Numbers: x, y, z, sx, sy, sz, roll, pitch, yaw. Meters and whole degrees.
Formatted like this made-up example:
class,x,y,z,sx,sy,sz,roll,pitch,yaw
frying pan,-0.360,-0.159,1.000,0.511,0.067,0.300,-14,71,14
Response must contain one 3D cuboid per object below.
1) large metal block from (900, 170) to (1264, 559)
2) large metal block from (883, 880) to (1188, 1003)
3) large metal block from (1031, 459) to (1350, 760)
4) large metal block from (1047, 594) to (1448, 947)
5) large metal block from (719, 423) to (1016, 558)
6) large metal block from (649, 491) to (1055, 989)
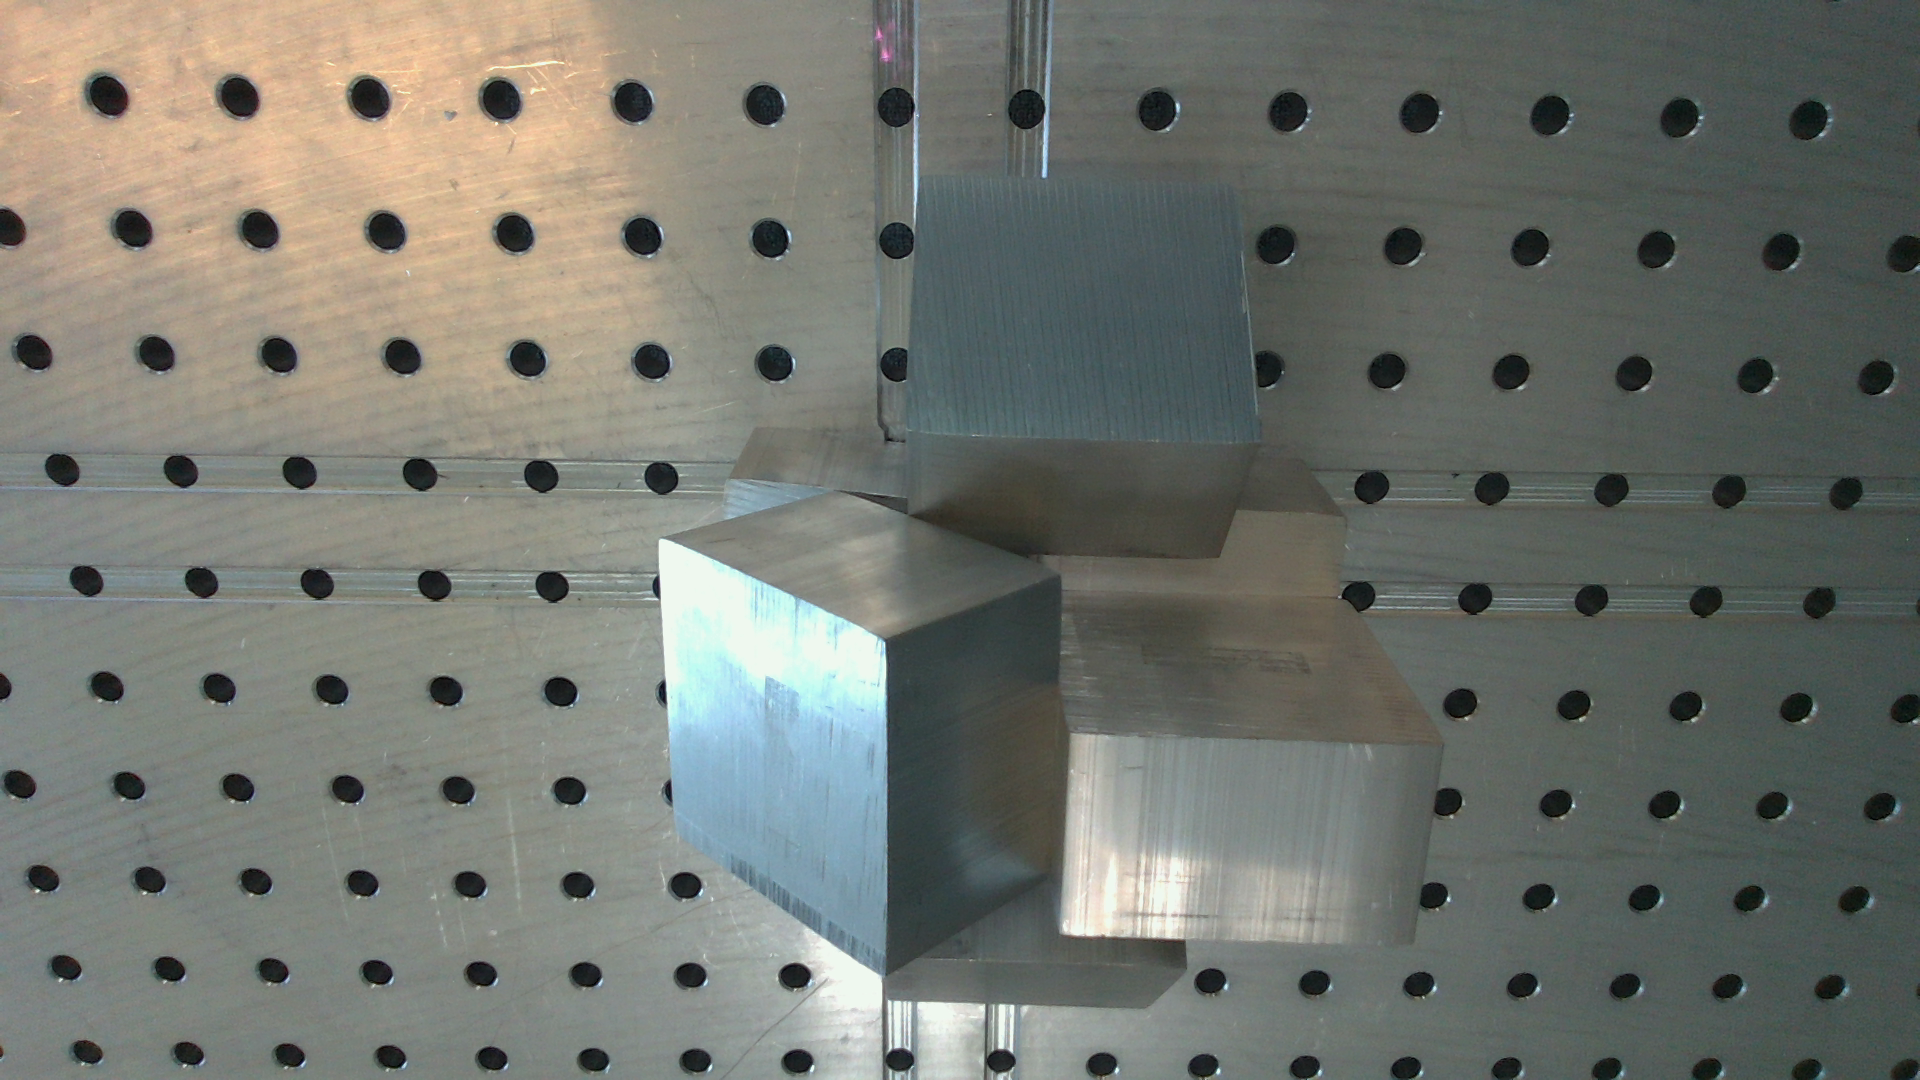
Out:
class,x,y,z,sx,sy,sz,roll,pitch,yaw
large metal block,0.027,-0.044,0.343,0.080,0.080,0.050,2,149,-1
large metal block,0.018,0.104,0.399,0.080,0.050,0.080,2,155,-1
large metal block,0.059,0.021,0.391,0.080,0.050,0.080,3,110,-1
large metal block,0.062,0.052,0.333,0.080,0.080,0.050,1,110,-1
large metal block,-0.026,0.017,0.389,0.080,0.050,0.080,6,110,-2
large metal block,-0.026,0.041,0.320,0.050,0.080,0.080,-19,118,-42
